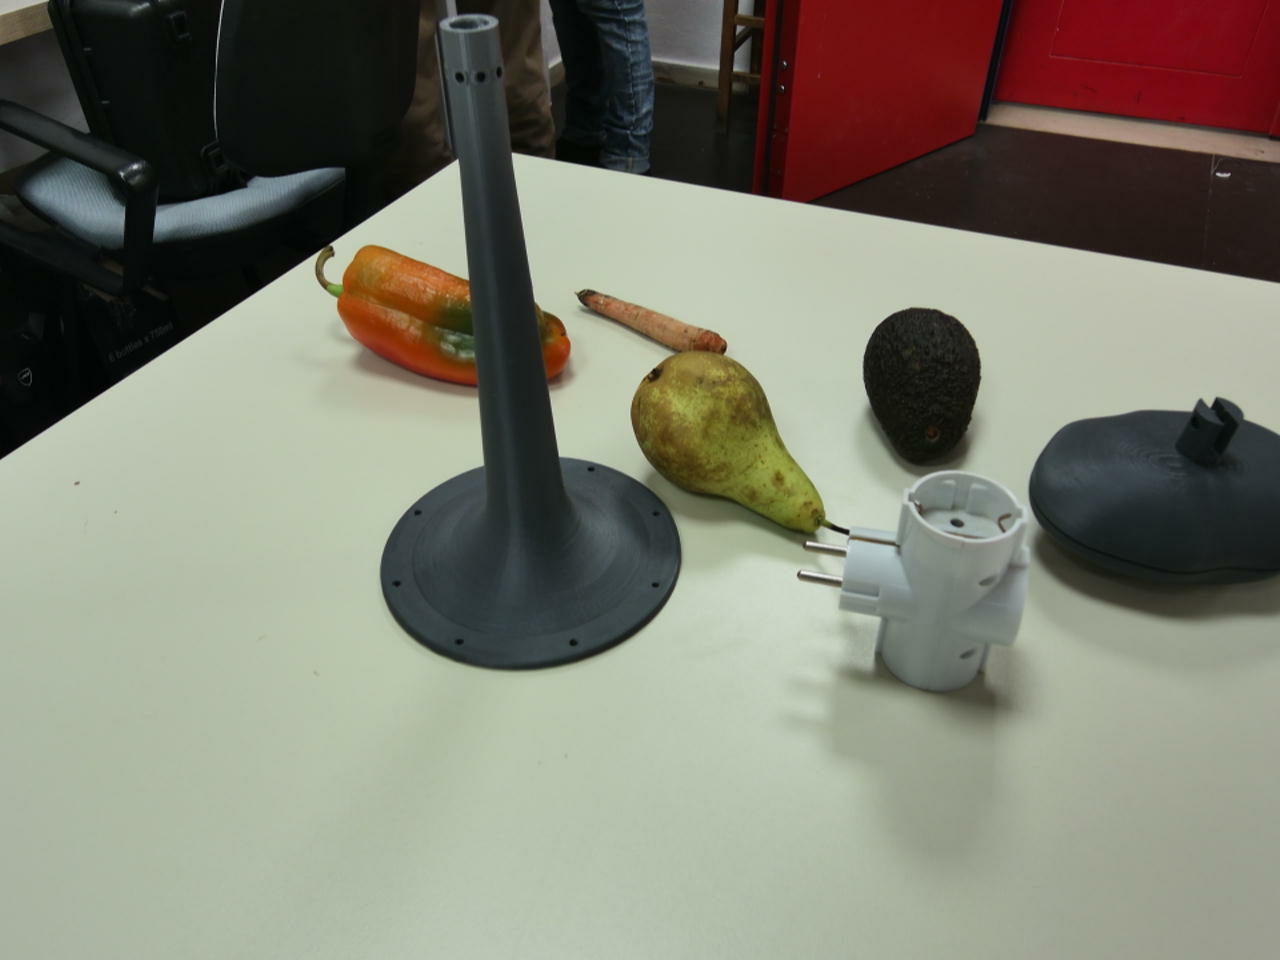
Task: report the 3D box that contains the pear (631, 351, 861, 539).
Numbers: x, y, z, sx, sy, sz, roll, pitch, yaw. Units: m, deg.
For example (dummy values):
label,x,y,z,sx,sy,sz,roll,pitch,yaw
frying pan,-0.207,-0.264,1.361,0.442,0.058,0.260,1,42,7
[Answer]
label,x,y,z,sx,sy,sz,roll,pitch,yaw
pear,0.062,-0.020,0.518,0.144,0.075,0.071,21,43,25
